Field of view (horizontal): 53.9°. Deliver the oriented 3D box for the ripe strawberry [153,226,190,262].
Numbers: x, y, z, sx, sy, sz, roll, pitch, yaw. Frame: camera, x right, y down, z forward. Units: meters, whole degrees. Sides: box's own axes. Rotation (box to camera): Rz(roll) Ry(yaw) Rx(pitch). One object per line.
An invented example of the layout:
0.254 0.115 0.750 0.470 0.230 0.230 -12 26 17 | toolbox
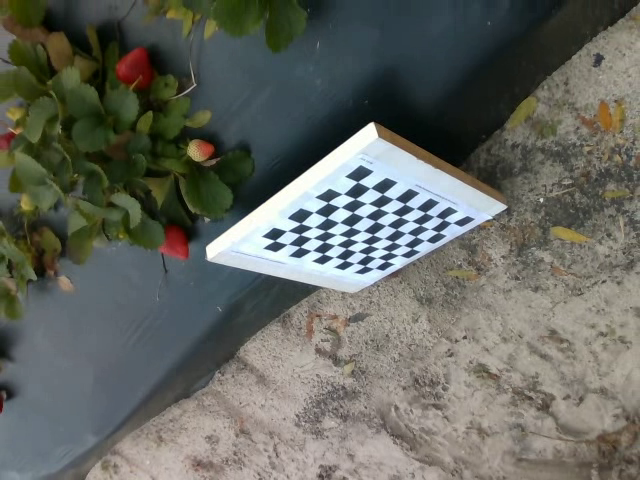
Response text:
-0.156 0.004 0.638 0.046 0.037 0.037 38 -20 12 | ripe strawberry
